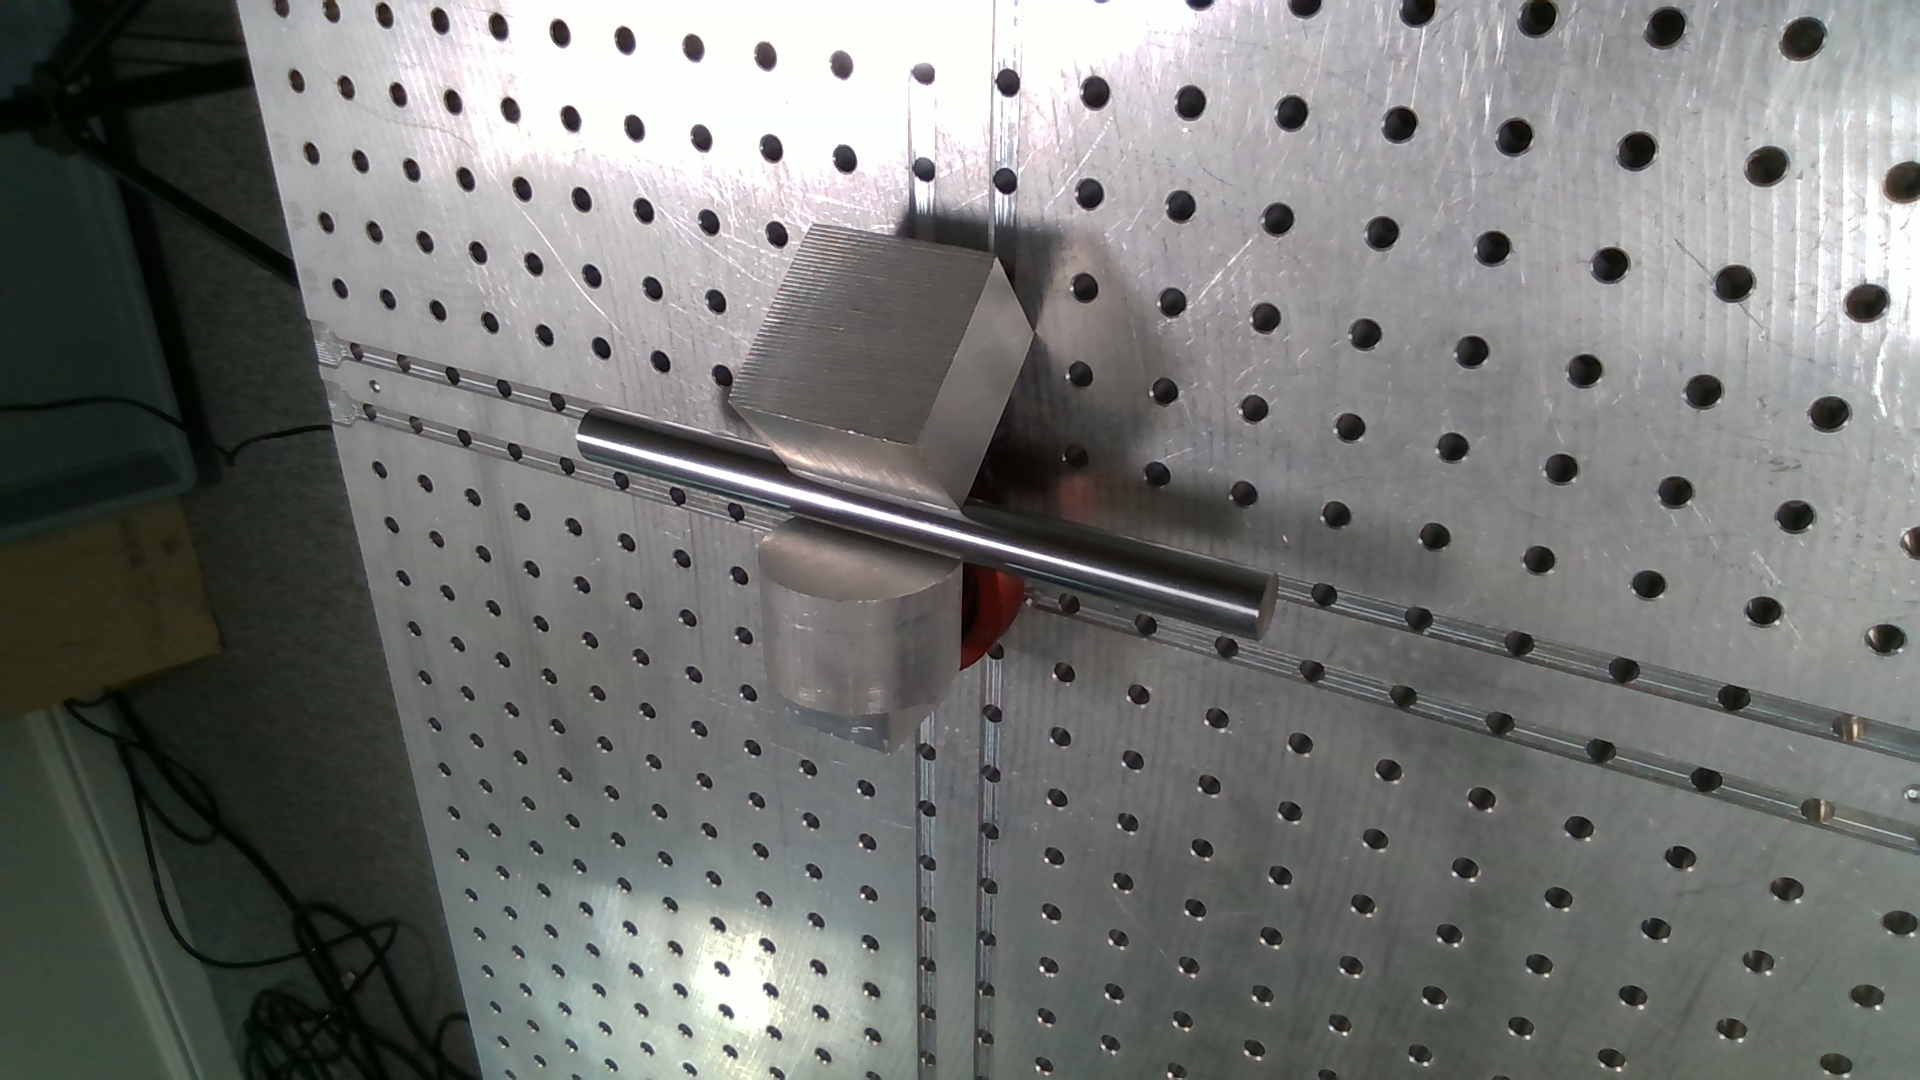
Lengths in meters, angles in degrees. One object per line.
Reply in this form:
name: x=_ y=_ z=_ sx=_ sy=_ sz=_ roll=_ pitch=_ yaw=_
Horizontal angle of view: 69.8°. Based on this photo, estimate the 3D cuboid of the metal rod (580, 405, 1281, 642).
metal rod: x=-0.025 y=-0.012 z=0.538 sx=0.300 sy=0.025 sz=0.025 roll=15 pitch=122 yaw=24

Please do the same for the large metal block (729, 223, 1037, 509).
large metal block: x=-0.027 y=-0.066 z=0.520 sx=0.080 sy=0.080 sz=0.050 roll=15 pitch=163 yaw=24

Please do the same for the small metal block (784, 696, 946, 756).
small metal block: x=-0.038 y=0.058 z=0.567 sx=0.050 sy=0.050 sz=0.025 roll=15 pitch=122 yaw=24

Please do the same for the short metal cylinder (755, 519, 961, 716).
short metal cylinder: x=-0.039 y=0.026 z=0.547 sx=0.080 sy=0.080 sz=0.050 roll=15 pitch=122 yaw=24

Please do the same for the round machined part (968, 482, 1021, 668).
round machined part: x=-0.017 y=0.006 z=0.584 sx=0.098 sy=0.042 sz=0.098 roll=14 pitch=122 yaw=25
